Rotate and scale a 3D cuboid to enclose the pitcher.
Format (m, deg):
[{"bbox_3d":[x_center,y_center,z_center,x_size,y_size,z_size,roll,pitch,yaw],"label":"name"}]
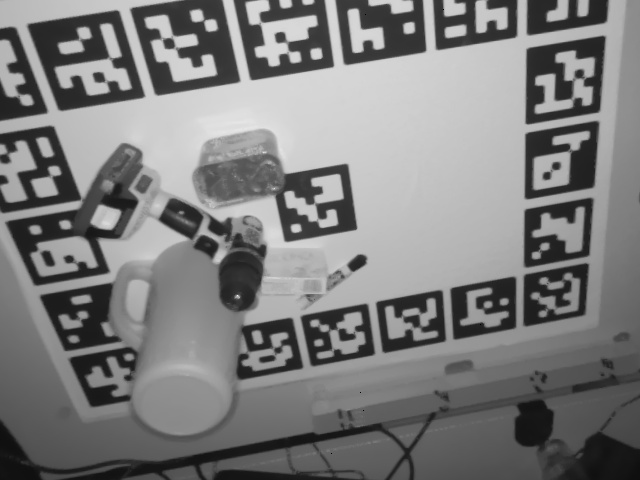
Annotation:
[{"bbox_3d":[-0.175,0.128,0.834,0.190,0.243,0.132,18,113,-21],"label":"pitcher"}]

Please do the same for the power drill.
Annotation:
[{"bbox_3d":[-0.144,0.021,0.806,0.188,0.185,0.057,25,112,-11],"label":"power drill"}]

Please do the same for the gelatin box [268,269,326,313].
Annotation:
[{"bbox_3d":[-0.038,0.064,0.903,0.090,0.073,0.030,1,115,-4],"label":"gelatin box"}]

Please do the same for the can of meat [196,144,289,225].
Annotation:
[{"bbox_3d":[-0.089,-0.068,0.817,0.102,0.084,0.057,-10,121,1],"label":"can of meat"}]

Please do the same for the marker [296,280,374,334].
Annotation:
[{"bbox_3d":[0.022,0.091,0.951,0.120,0.020,0.020,-33,116,11],"label":"marker"}]
